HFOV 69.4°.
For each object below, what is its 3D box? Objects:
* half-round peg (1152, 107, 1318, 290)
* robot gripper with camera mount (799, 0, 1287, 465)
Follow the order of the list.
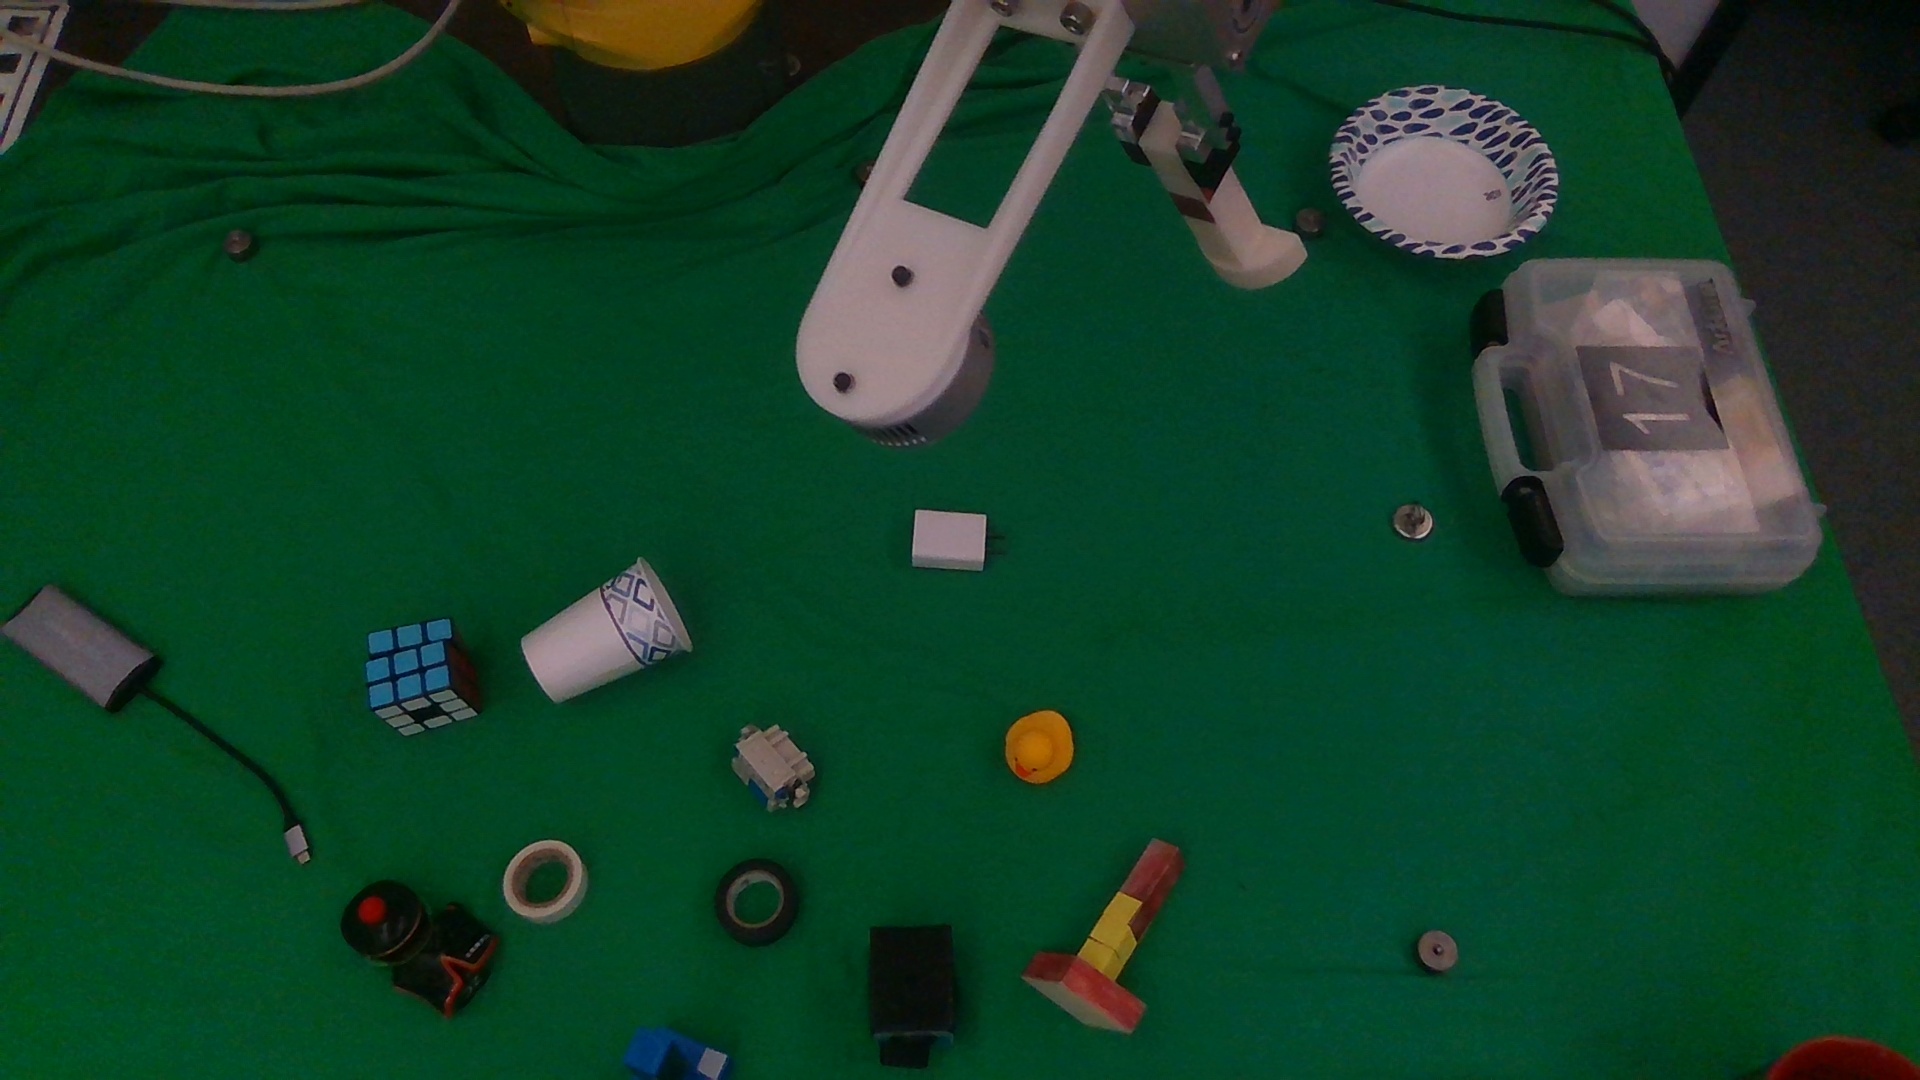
[{"bbox_3d":[0.111,-0.146,0.595,0.054,0.121,0.031,28,90,32],"label":"half-round peg"},{"bbox_3d":[0.026,-0.105,0.489,0.119,0.158,0.193,26,84,34],"label":"robot gripper with camera mount"}]
